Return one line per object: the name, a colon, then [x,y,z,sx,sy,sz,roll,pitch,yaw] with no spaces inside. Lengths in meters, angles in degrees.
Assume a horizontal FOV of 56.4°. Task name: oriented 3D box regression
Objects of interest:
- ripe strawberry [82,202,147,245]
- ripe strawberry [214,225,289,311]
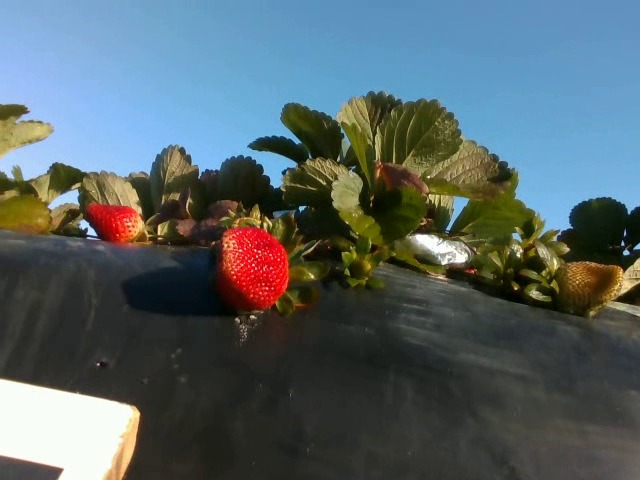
ripe strawberry: [-0.140,-0.014,0.401,0.046,0.036,0.035,21,12,-7]
ripe strawberry: [-0.036,0.014,0.276,0.042,0.042,0.058,22,4,16]
